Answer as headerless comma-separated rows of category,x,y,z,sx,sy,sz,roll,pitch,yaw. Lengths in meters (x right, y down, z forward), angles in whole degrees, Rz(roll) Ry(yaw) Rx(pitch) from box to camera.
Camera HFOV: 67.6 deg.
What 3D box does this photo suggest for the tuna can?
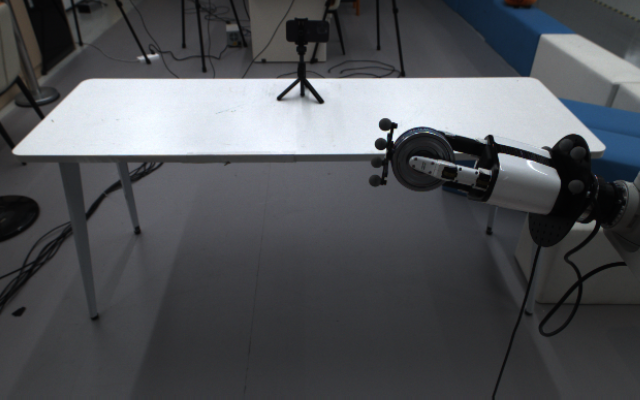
tuna can,0.143,-0.053,0.664,0.085,0.085,0.034,4,17,3
